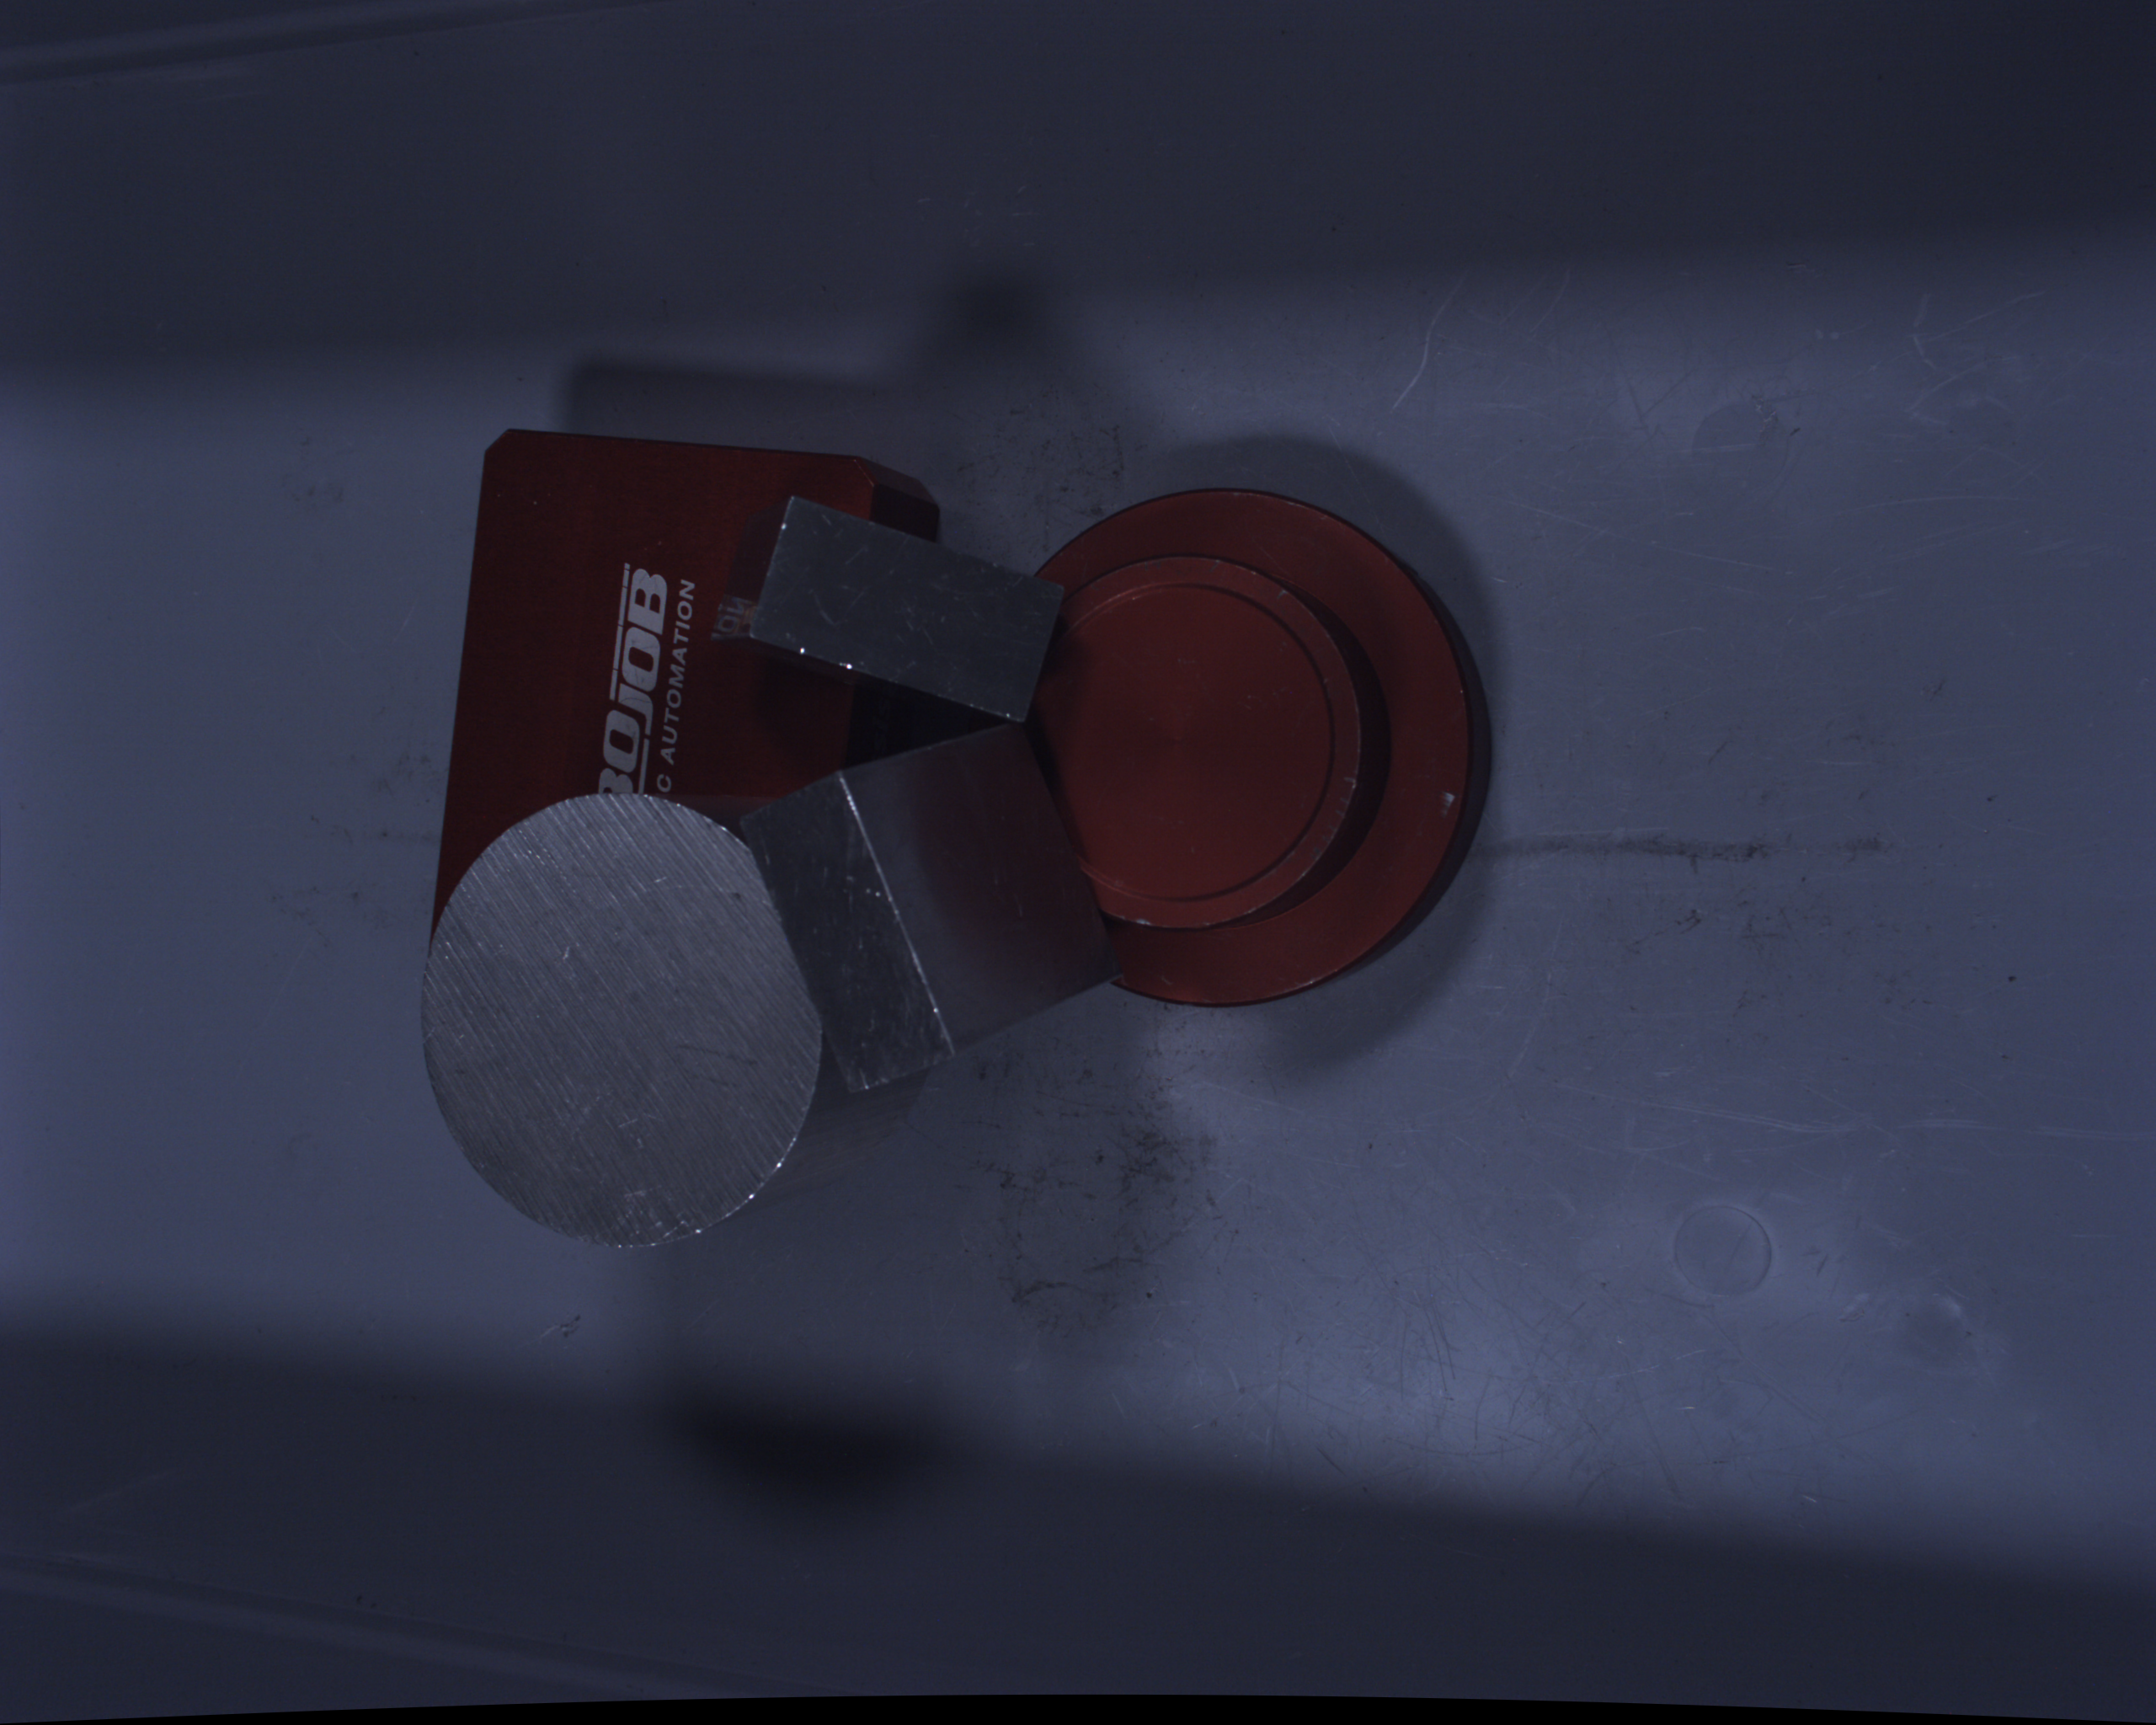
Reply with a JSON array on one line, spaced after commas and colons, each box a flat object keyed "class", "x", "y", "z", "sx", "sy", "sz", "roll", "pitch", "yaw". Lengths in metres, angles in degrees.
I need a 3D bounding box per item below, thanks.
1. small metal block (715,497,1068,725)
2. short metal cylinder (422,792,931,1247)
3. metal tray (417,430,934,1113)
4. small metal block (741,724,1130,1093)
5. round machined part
[{"class": "small metal block", "x": -0.036, "y": -0.045, "z": 0.380, "sx": 0.050, "sy": 0.050, "sz": 0.025, "roll": 16, "pitch": 90, "yaw": -18}, {"class": "short metal cylinder", "x": -0.073, "y": 0.027, "z": 0.388, "sx": 0.080, "sy": 0.050, "sz": 0.079, "roll": 0, "pitch": 90, "yaw": 19}, {"class": "metal tray", "x": -0.084, "y": -0.020, "z": 0.432, "sx": 0.090, "sy": 0.030, "sz": 0.129, "roll": 8, "pitch": 93, "yaw": 19}, {"class": "small metal block", "x": -0.024, "y": 0.006, "z": 0.361, "sx": 0.025, "sy": 0.050, "sz": 0.050, "roll": -23, "pitch": 89, "yaw": 37}, {"class": "round machined part", "x": 0.025, "y": -0.021, "z": 0.390, "sx": 0.098, "sy": 0.042, "sz": 0.097, "roll": 0, "pitch": 90, "yaw": 19}]
